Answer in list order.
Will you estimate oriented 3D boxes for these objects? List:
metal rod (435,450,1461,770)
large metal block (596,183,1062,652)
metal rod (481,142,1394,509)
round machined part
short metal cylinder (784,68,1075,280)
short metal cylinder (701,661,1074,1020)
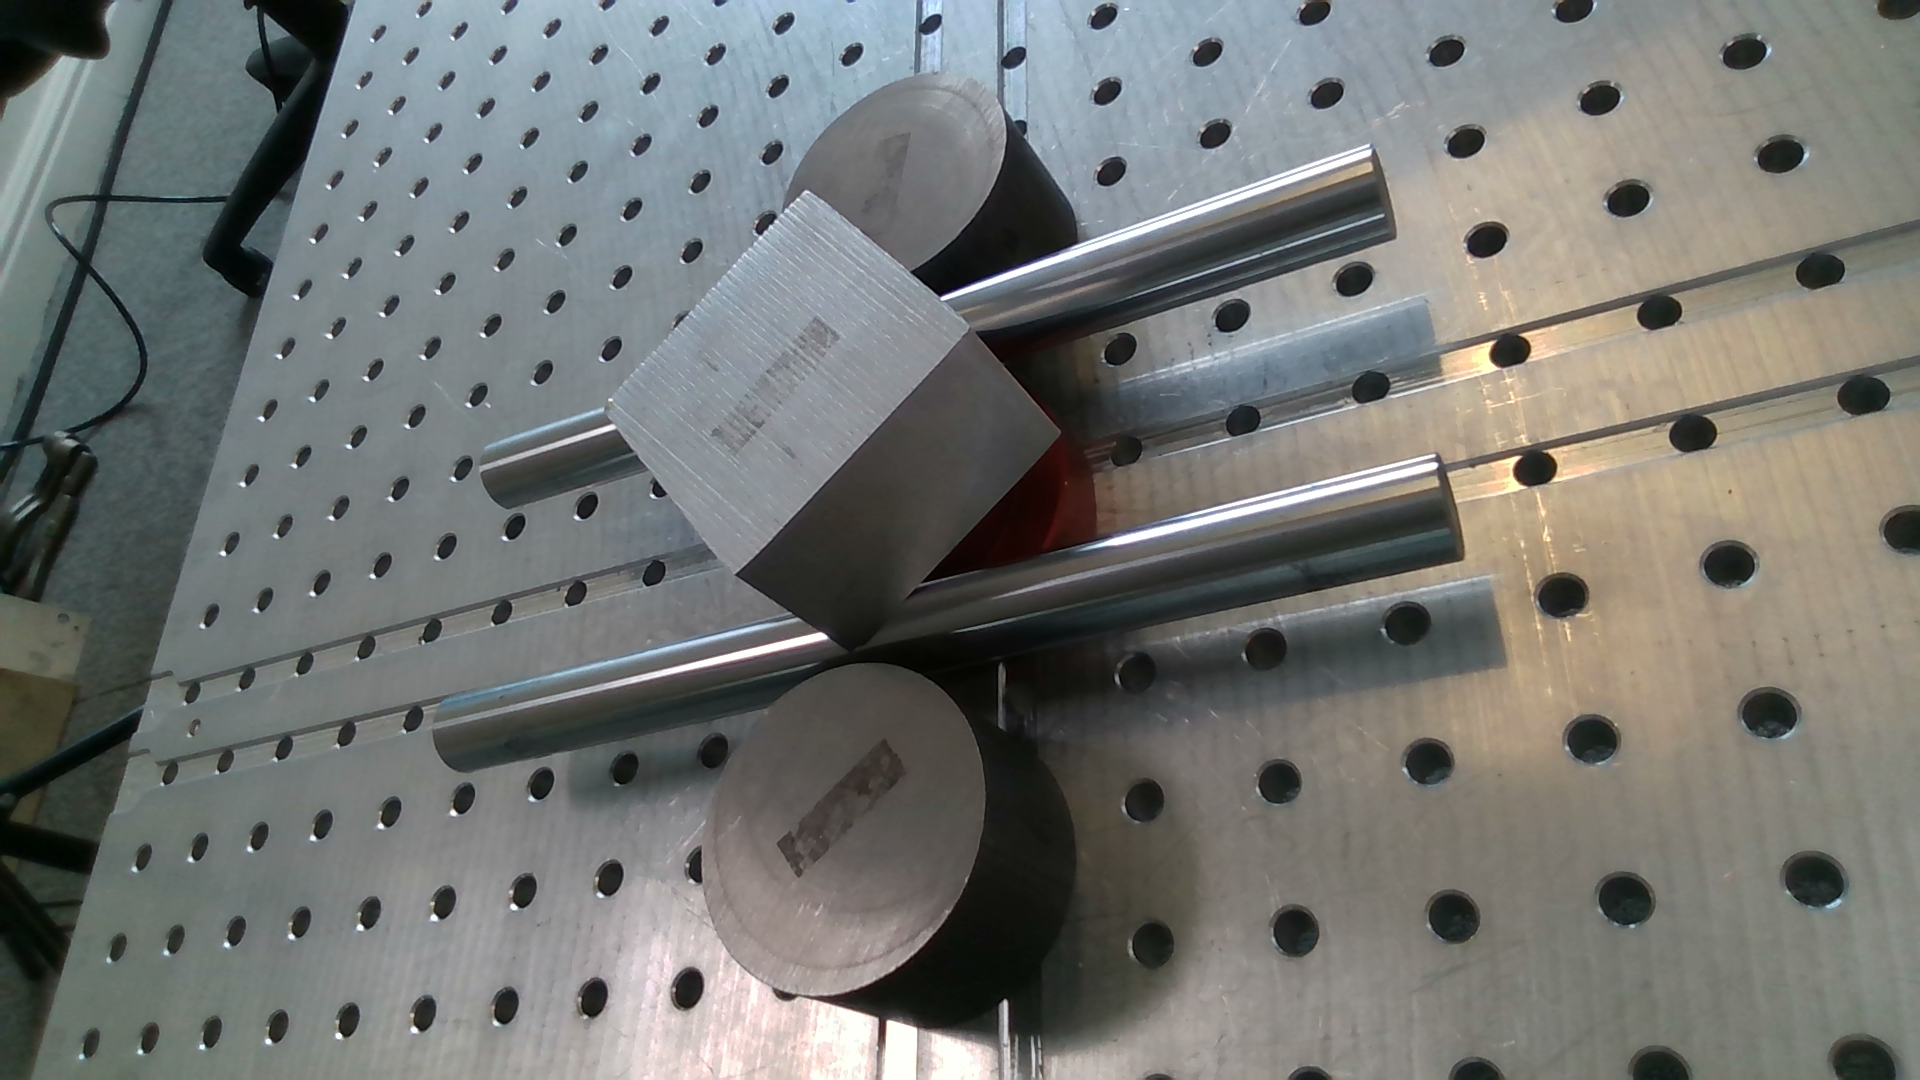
[{"bbox_3d":[-0.023,0.026,0.370,0.300,0.025,0.025,-14,59,25],"label":"metal rod"},{"bbox_3d":[-0.035,-0.033,0.358,0.080,0.050,0.080,-46,51,2],"label":"large metal block"},{"bbox_3d":[-0.025,-0.056,0.414,0.300,0.025,0.025,-14,59,25],"label":"metal rod"},{"bbox_3d":[-0.014,-0.011,0.400,0.098,0.042,0.098,-14,59,25],"label":"round machined part"},{"bbox_3d":[-0.010,-0.101,0.440,0.080,0.050,0.080,-14,59,25],"label":"short metal cylinder"},{"bbox_3d":[-0.018,0.077,0.349,0.080,0.050,0.080,-14,59,25],"label":"short metal cylinder"}]
